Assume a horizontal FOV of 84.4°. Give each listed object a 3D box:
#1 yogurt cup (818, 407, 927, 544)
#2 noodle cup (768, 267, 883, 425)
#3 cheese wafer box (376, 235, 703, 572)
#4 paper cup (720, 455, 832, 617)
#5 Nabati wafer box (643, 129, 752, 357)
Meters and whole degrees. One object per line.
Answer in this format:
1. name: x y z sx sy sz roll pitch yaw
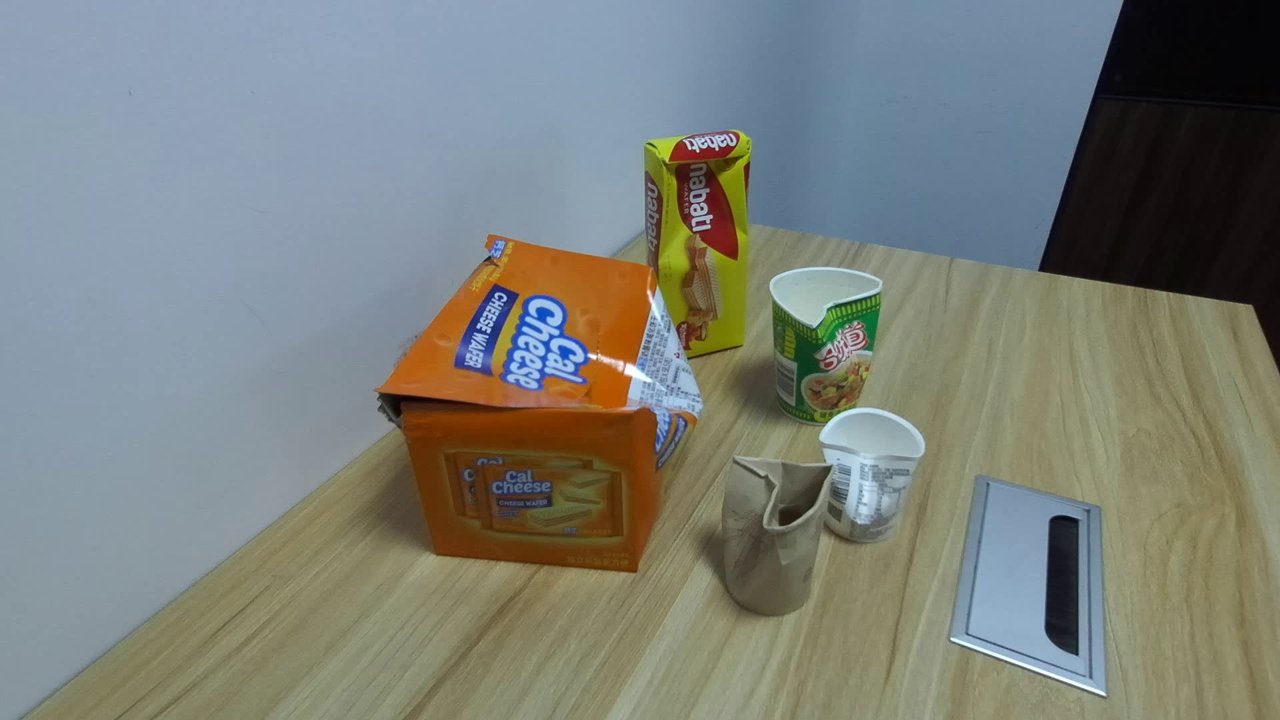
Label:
1. yogurt cup: 0.154 0.080 0.484 0.067 0.070 0.067 -1 30 1
2. noodle cup: 0.152 -0.011 0.587 0.094 0.109 0.086 -12 34 -14
3. cheese wafer box: -0.050 0.019 0.522 0.191 0.145 0.219 2 33 7
4. paper cup: 0.078 0.107 0.433 0.058 0.083 0.066 13 35 25
5. Nabati wafer box: 0.053 -0.098 0.640 0.097 0.203 0.042 -12 32 -19
